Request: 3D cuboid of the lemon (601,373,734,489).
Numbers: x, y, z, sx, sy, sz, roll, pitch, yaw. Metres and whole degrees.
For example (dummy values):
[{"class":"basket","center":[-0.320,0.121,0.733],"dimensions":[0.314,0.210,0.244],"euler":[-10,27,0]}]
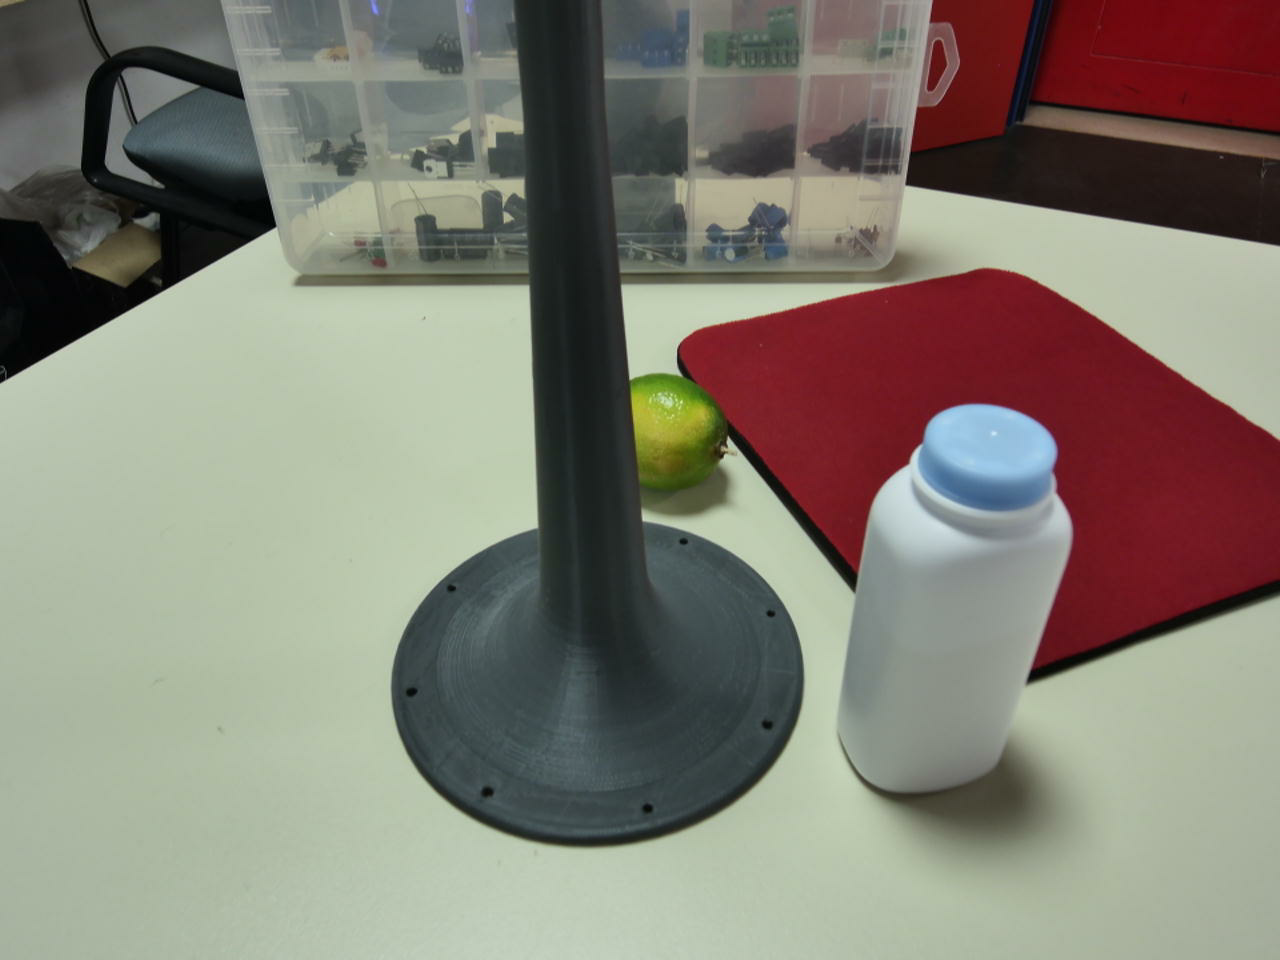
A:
[{"class":"lemon","center":[0.010,-0.022,0.441],"dimensions":[0.054,0.050,0.055],"euler":[-8,38,-10]}]
